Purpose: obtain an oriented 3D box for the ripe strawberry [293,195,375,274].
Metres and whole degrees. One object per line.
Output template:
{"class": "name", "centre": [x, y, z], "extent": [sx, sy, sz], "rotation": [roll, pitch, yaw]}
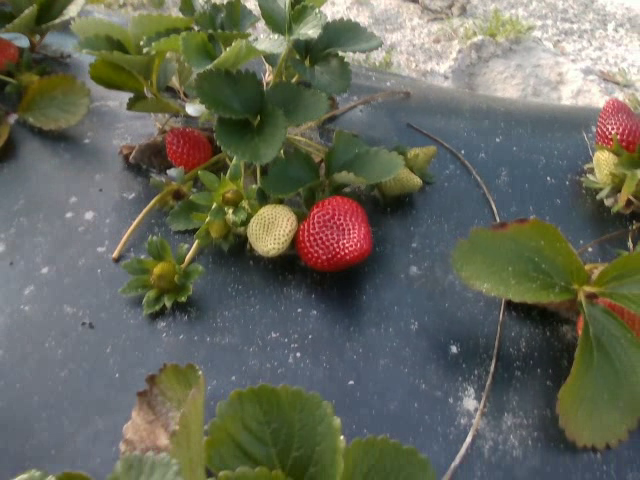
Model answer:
{"class": "ripe strawberry", "centre": [0.011, 0.000, 0.360], "extent": [0.048, 0.051, 0.055], "rotation": [36, 3, -23]}
